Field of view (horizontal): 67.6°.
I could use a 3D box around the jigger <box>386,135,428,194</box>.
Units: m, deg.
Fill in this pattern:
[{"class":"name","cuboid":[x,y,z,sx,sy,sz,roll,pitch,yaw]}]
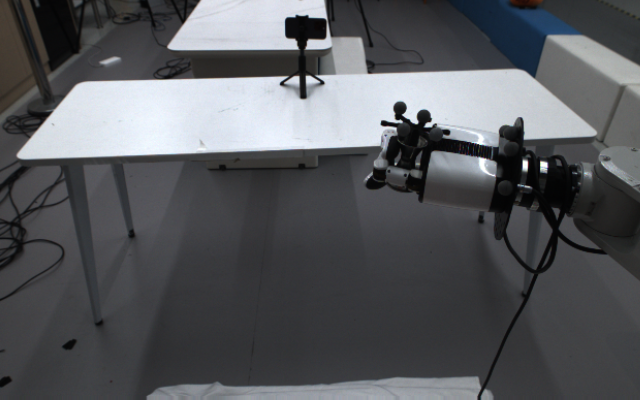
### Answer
[{"class":"jigger","cuboid":[0.117,-0.050,0.650,0.043,0.071,0.043,7,32,-4]}]
